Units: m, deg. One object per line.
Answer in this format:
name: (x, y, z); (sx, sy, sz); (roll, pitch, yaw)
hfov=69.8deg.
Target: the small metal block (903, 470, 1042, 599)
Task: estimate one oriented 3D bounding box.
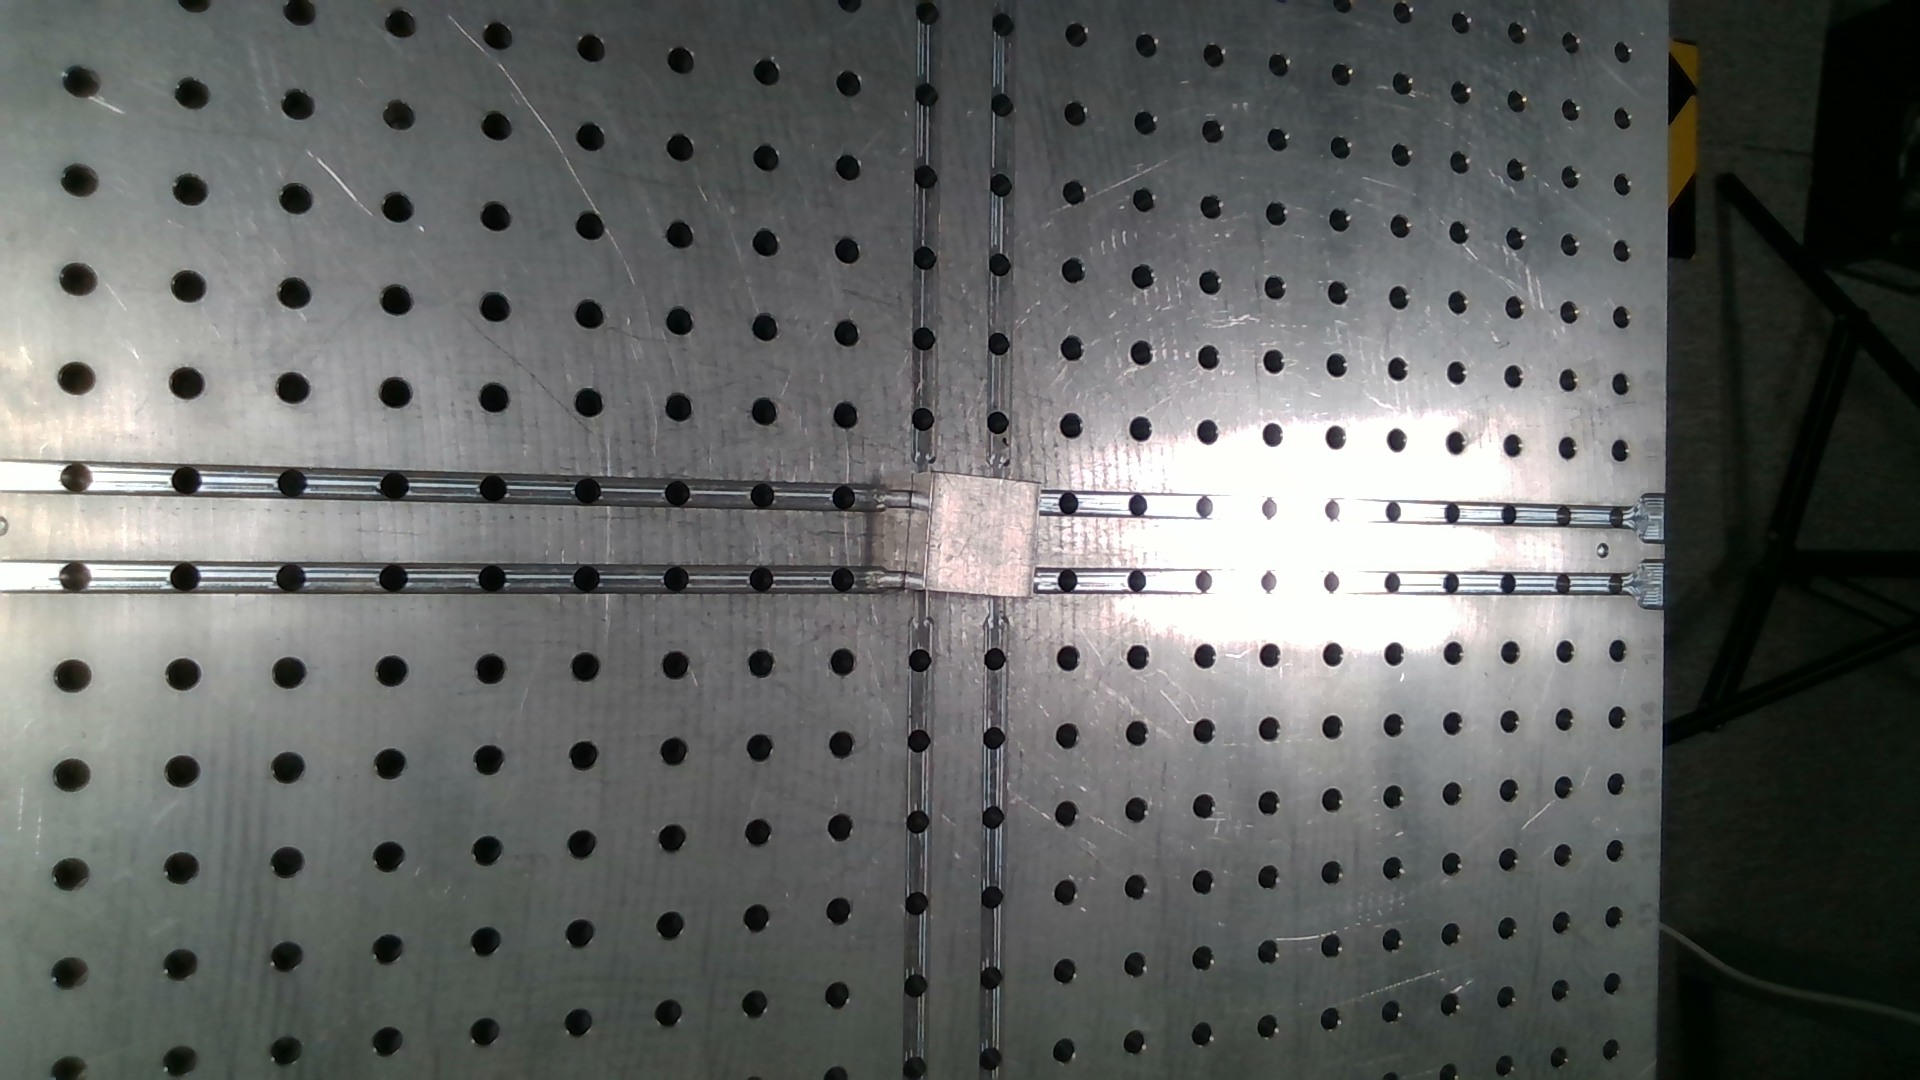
small metal block: (0.005, -0.002, 0.590); (0.050, 0.025, 0.050); (5, 88, -20)
